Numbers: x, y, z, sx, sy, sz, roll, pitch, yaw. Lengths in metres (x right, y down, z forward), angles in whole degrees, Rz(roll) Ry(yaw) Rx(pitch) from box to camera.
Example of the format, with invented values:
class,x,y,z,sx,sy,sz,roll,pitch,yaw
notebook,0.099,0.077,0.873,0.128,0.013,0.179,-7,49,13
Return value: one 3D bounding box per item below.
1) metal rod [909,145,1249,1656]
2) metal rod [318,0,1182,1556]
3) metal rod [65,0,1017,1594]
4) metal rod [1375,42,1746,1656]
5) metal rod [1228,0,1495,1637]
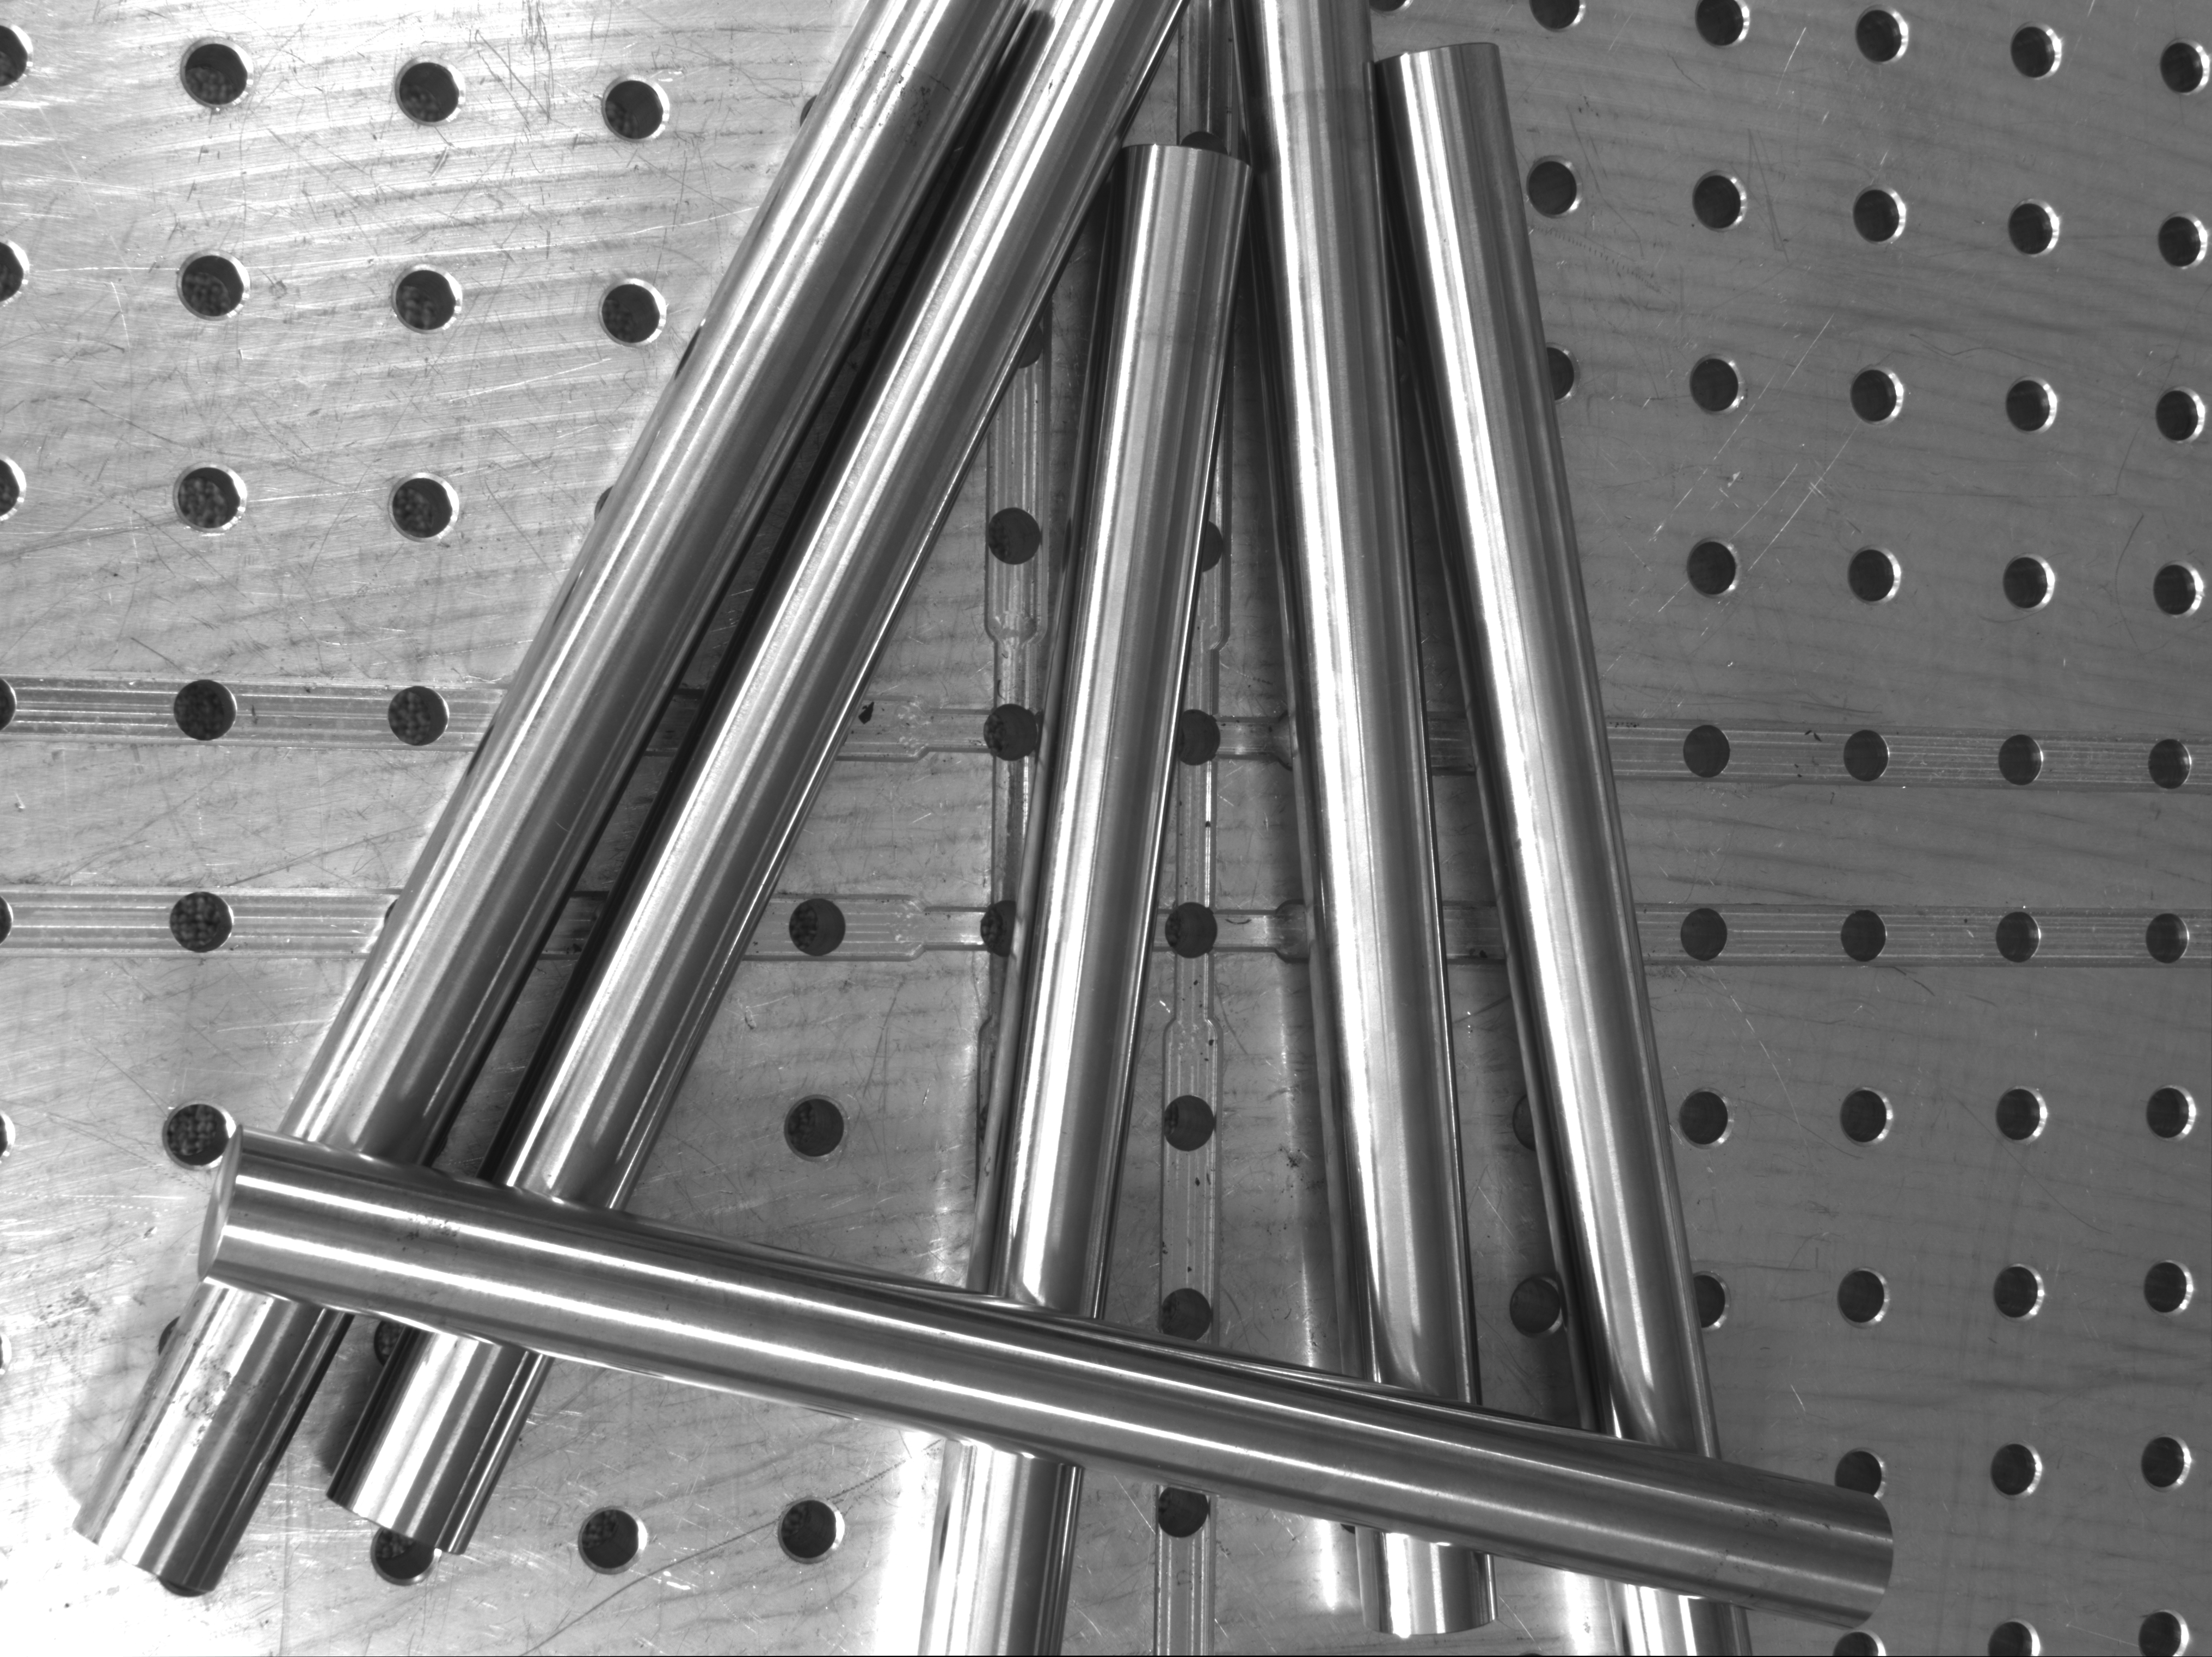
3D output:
class,x,y,z,sx,sy,sz,roll,pitch,yaw
metal rod,-0.007,0.031,0.644,0.025,0.025,0.300,9,87,-20
metal rod,-0.057,-0.021,0.626,0.025,0.025,0.300,27,81,-18
metal rod,-0.091,-0.016,0.612,0.025,0.025,0.300,29,81,-17
metal rod,0.083,0.008,0.676,0.025,0.025,0.300,-10,93,-19
metal rod,0.046,-0.006,0.663,0.025,0.025,0.300,-5,92,-20
